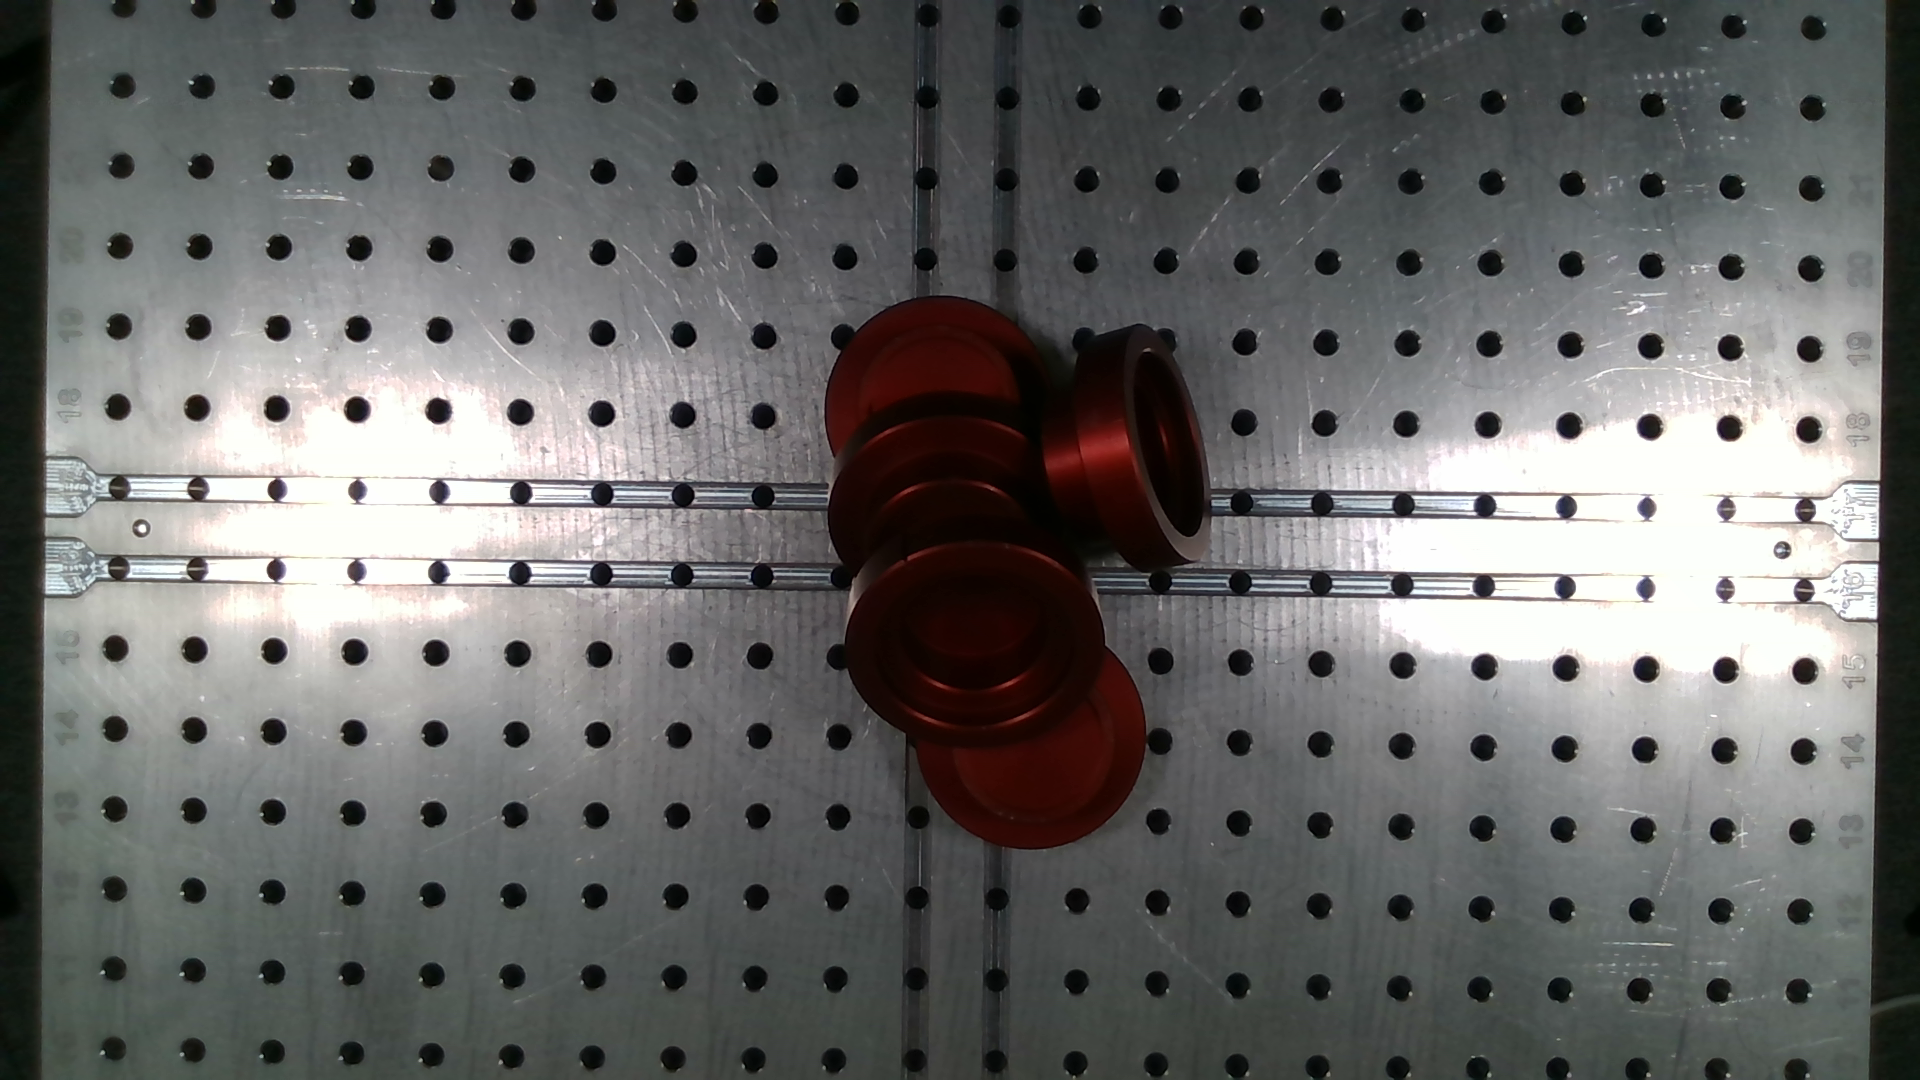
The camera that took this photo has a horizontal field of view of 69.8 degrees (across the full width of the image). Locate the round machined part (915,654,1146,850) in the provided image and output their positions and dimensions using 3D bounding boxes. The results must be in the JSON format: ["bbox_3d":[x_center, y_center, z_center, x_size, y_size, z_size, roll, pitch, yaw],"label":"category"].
[{"bbox_3d":[0.030,0.082,0.581,0.098,0.042,0.098,0,90,0],"label":"round machined part"}]

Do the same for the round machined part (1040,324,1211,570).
[{"bbox_3d":[0.066,-0.035,0.558,0.042,0.098,0.098,-12,90,26],"label":"round machined part"}]

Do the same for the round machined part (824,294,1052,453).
[{"bbox_3d":[-0.009,-0.055,0.580,0.098,0.042,0.098,0,90,0],"label":"round machined part"}]

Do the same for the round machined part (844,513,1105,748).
[{"bbox_3d":[0.005,0.030,0.533,0.098,0.042,0.098,-1,123,-1],"label":"round machined part"}]

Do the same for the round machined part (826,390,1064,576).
[{"bbox_3d":[-0.005,-0.008,0.557,0.098,0.042,0.098,-2,127,-3],"label":"round machined part"}]
